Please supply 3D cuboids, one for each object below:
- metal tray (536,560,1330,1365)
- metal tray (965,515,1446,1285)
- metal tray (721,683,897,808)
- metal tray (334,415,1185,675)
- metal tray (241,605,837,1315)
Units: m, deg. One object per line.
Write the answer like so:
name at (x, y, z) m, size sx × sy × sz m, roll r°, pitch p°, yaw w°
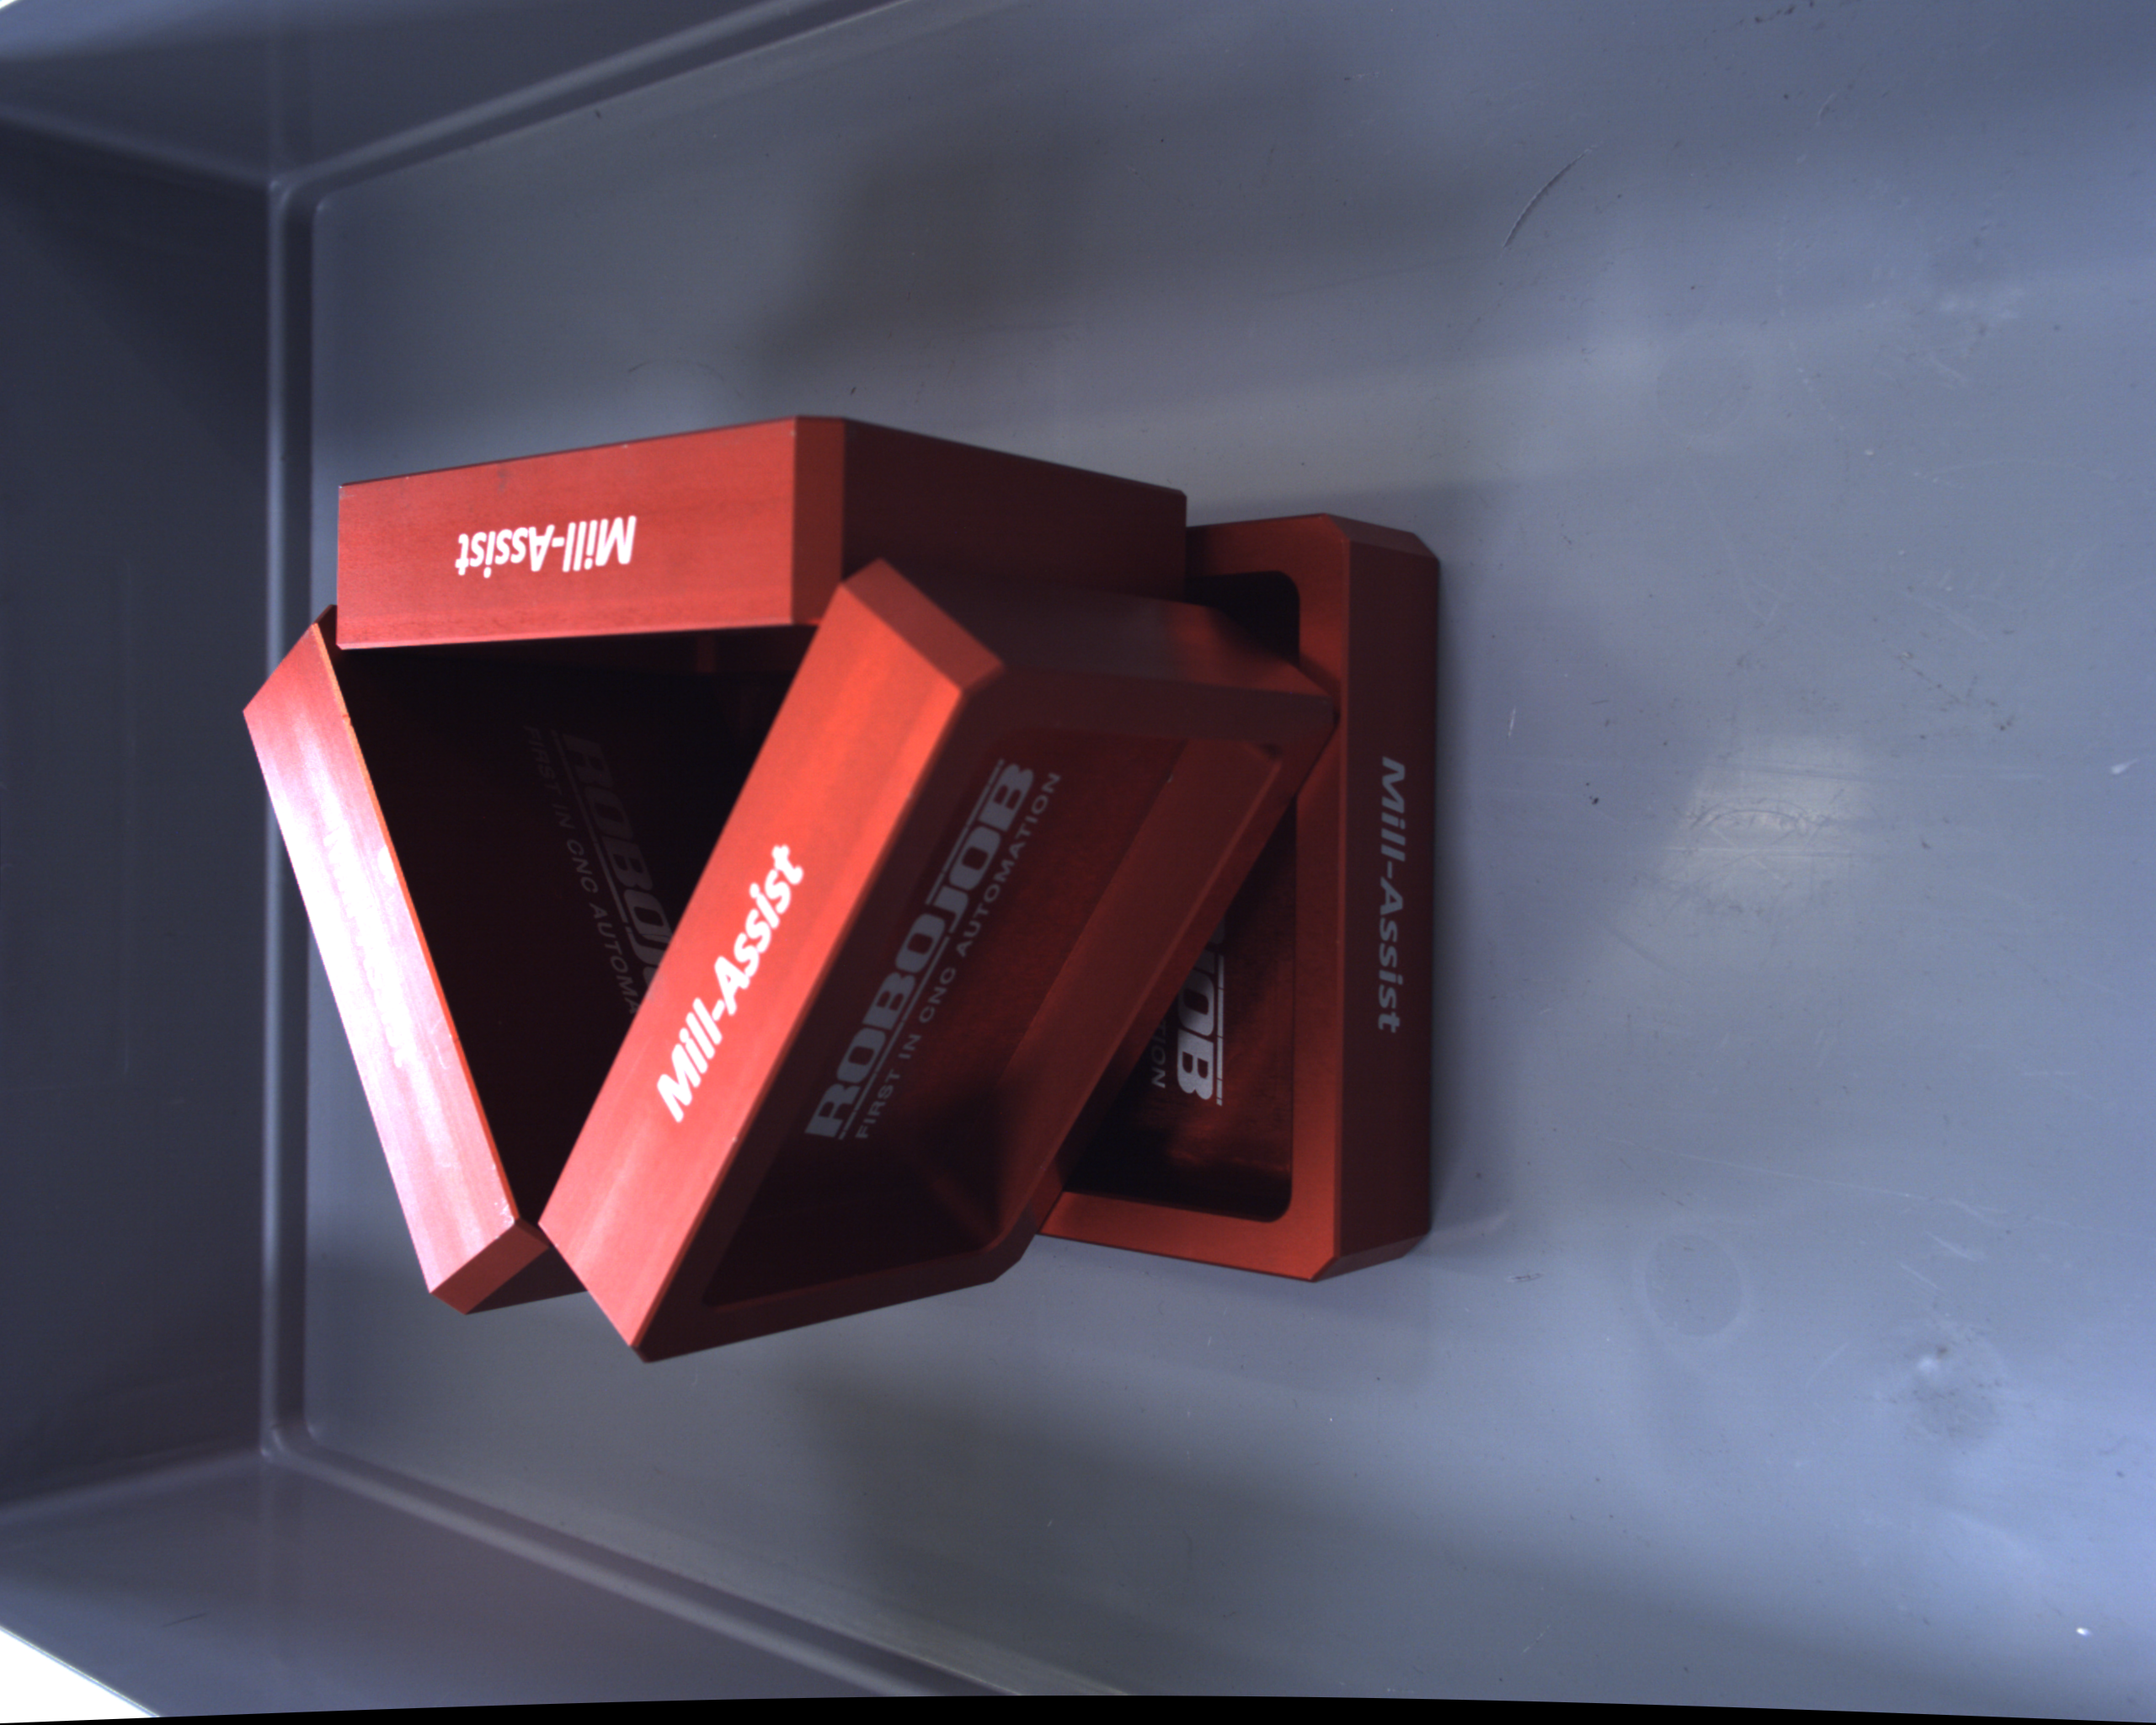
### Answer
metal tray at (-0.023, 0.018, 0.341) m, size 0.030 × 0.091 × 0.129 m, roll 43°, pitch 116°, yaw 32°
metal tray at (0.020, 0.005, 0.386) m, size 0.090 × 0.030 × 0.129 m, roll 2°, pitch 90°, yaw 40°
metal tray at (-0.050, 0.003, 0.445) m, size 0.090 × 0.030 × 0.129 m, roll 1°, pitch 90°, yaw 40°
metal tray at (-0.058, -0.052, 0.370) m, size 0.130 × 0.091 × 0.030 m, roll 3°, pitch 92°, yaw 40°
metal tray at (-0.096, 0.015, 0.402) m, size 0.030 × 0.091 × 0.130 m, roll -39°, pitch 67°, yaw 34°
